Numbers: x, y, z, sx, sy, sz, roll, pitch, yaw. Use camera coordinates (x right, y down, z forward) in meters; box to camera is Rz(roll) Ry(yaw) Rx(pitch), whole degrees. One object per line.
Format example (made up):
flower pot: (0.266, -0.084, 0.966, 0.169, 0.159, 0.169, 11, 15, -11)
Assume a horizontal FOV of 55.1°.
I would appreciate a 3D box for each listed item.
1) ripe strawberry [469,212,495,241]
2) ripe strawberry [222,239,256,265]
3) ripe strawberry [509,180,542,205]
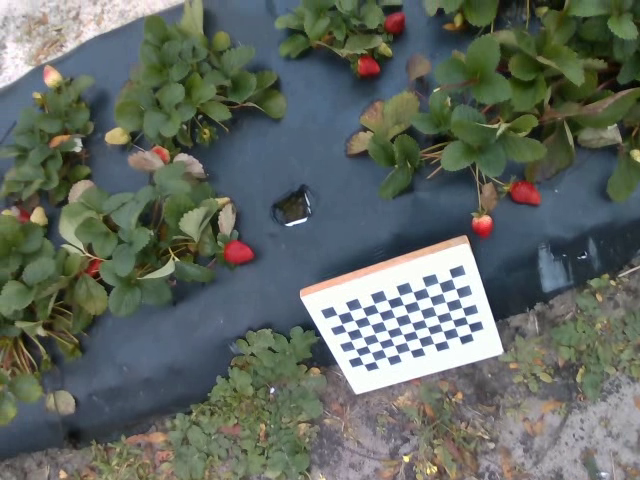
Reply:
ripe strawberry: (0.260, -0.021, 0.972, 0.036, 0.041, 0.028, -14, 18, 21)
ripe strawberry: (-0.144, 0.026, 1.071, 0.064, 0.049, 0.046, 11, -39, 33)
ripe strawberry: (0.319, -0.072, 0.951, 0.059, 0.044, 0.042, 32, 44, 5)
